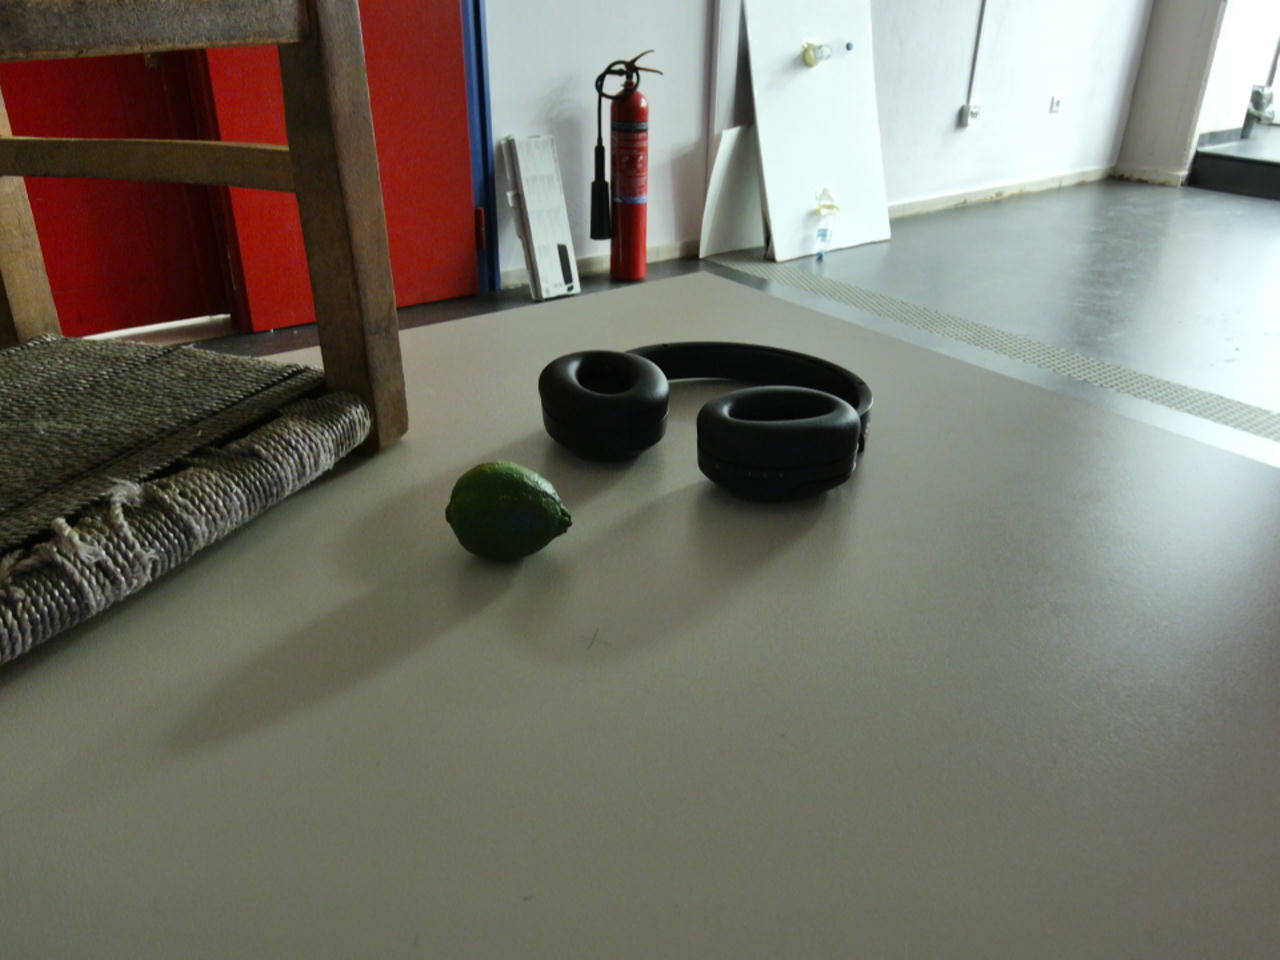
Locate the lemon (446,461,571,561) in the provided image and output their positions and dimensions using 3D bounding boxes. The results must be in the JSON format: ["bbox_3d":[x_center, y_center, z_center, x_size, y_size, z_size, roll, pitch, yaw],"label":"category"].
[{"bbox_3d":[-0.070,0.015,0.514,0.057,0.051,0.054,-21,32,-37],"label":"lemon"}]
